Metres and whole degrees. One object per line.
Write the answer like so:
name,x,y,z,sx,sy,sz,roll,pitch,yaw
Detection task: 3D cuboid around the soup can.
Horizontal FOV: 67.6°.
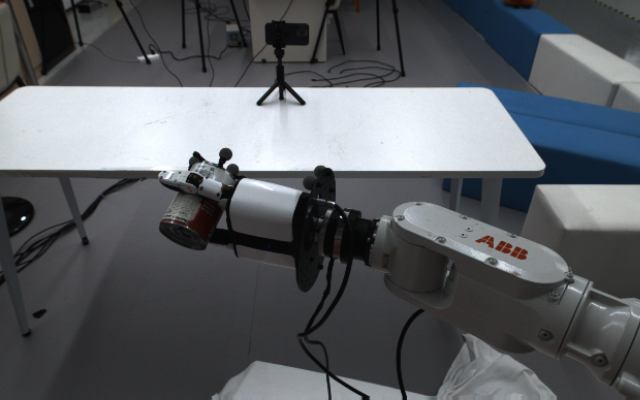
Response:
soup can,-0.162,0.006,0.646,0.067,0.067,0.101,12,59,14
